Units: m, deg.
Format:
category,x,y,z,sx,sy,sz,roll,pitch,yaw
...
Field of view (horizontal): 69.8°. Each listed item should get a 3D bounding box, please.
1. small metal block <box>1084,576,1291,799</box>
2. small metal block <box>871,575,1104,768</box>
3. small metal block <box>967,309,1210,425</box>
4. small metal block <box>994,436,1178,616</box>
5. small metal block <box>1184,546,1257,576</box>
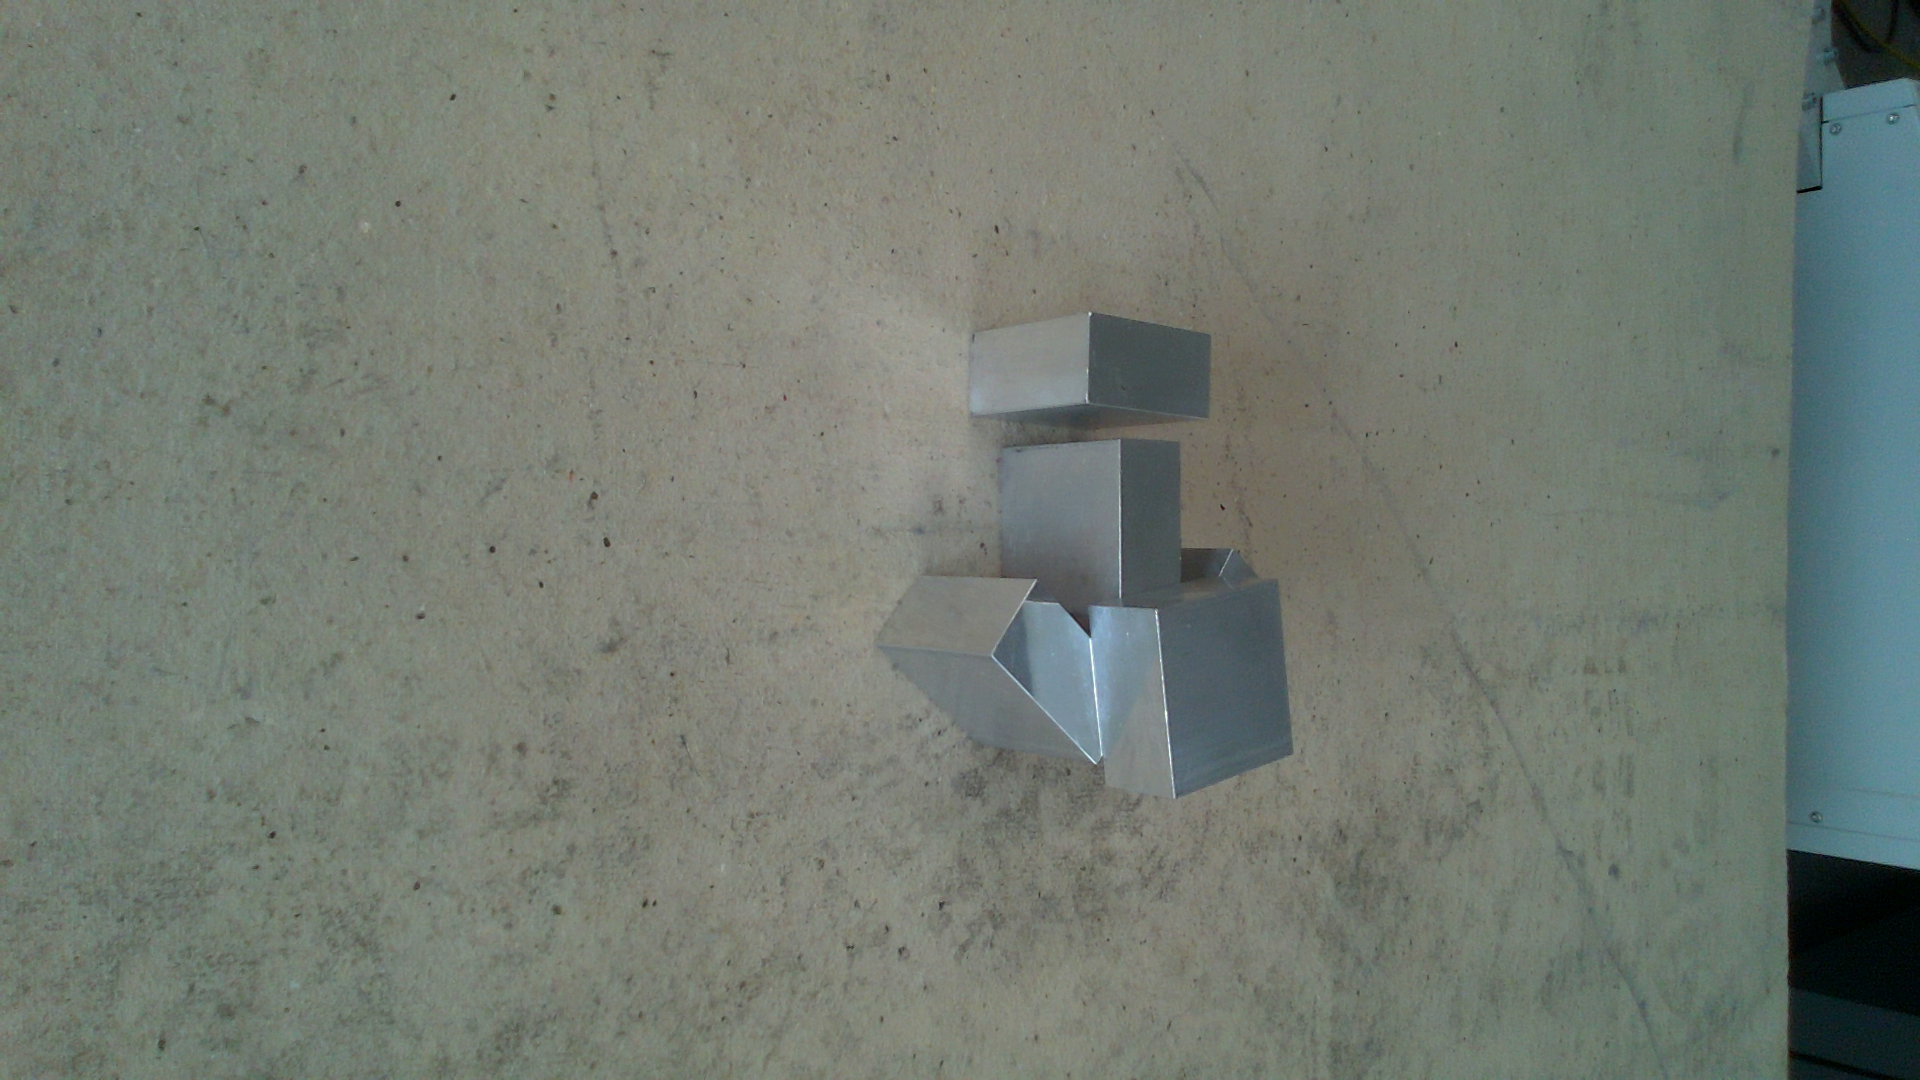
category,x,y,z,sx,sy,sz,roll,pitch,yaw
small metal block,0.063,0.039,0.378,0.050,0.025,0.050,-10,96,-39
small metal block,0.012,0.036,0.382,0.050,0.050,0.025,48,61,-31
small metal block,0.037,-0.049,0.404,0.050,0.050,0.025,2,88,-40
small metal block,0.036,-0.003,0.404,0.025,0.050,0.050,-1,90,-41
small metal block,0.061,0.029,0.424,0.025,0.050,0.050,45,64,-31
